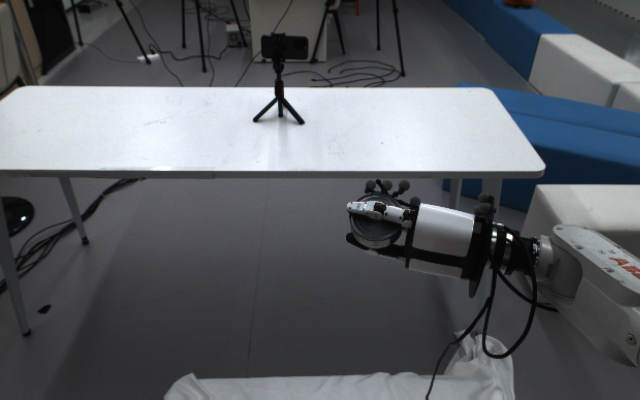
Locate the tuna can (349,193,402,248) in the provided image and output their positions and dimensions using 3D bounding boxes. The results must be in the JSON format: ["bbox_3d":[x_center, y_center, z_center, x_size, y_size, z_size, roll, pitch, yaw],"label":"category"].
[{"bbox_3d":[0.091,0.031,0.769,0.085,0.034,0.085,-4,56,6],"label":"tuna can"}]
